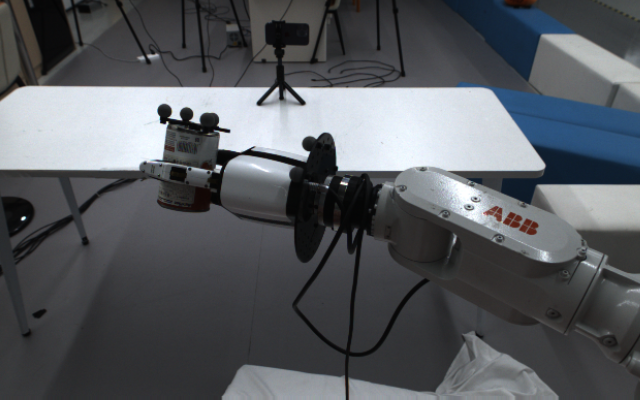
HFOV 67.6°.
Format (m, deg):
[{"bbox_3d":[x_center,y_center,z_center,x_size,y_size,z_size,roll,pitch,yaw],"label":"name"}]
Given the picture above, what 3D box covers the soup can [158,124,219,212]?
[{"bbox_3d":[-0.168,-0.040,0.621,0.067,0.101,0.067,10,9,-2],"label":"soup can"}]
